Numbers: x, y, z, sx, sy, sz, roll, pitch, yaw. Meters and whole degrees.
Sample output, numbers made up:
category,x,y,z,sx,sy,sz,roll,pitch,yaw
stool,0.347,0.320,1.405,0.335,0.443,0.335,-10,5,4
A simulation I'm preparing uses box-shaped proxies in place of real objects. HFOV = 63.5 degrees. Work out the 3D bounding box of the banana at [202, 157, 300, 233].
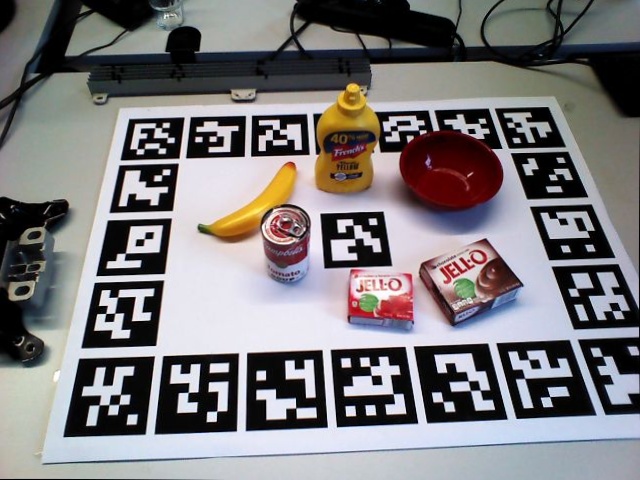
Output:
category,x,y,z,sx,sy,sz,roll,pitch,yaw
banana,-0.090,-0.067,0.812,0.074,0.039,0.196,30,60,30

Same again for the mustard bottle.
category,x,y,z,sx,sy,sz,roll,pitch,yaw
mustard bottle,0.056,-0.154,0.766,0.096,0.192,0.058,-1,53,-2

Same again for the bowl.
category,x,y,z,sx,sy,sz,roll,pitch,yaw
bowl,0.226,-0.098,0.827,0.162,0.055,0.160,-1,55,1

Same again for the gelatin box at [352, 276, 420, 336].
category,x,y,z,sx,sy,sz,roll,pitch,yaw
gelatin box,0.091,0.089,0.710,0.089,0.030,0.073,4,59,3

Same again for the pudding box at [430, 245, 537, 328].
category,x,y,z,sx,sy,sz,roll,pitch,yaw
pudding box,0.226,0.060,0.725,0.113,0.039,0.090,-22,64,-14

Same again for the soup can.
category,x,y,z,sx,sy,sz,roll,pitch,yaw
soup can,-0.044,0.001,0.716,0.068,0.102,0.067,1,54,-2
